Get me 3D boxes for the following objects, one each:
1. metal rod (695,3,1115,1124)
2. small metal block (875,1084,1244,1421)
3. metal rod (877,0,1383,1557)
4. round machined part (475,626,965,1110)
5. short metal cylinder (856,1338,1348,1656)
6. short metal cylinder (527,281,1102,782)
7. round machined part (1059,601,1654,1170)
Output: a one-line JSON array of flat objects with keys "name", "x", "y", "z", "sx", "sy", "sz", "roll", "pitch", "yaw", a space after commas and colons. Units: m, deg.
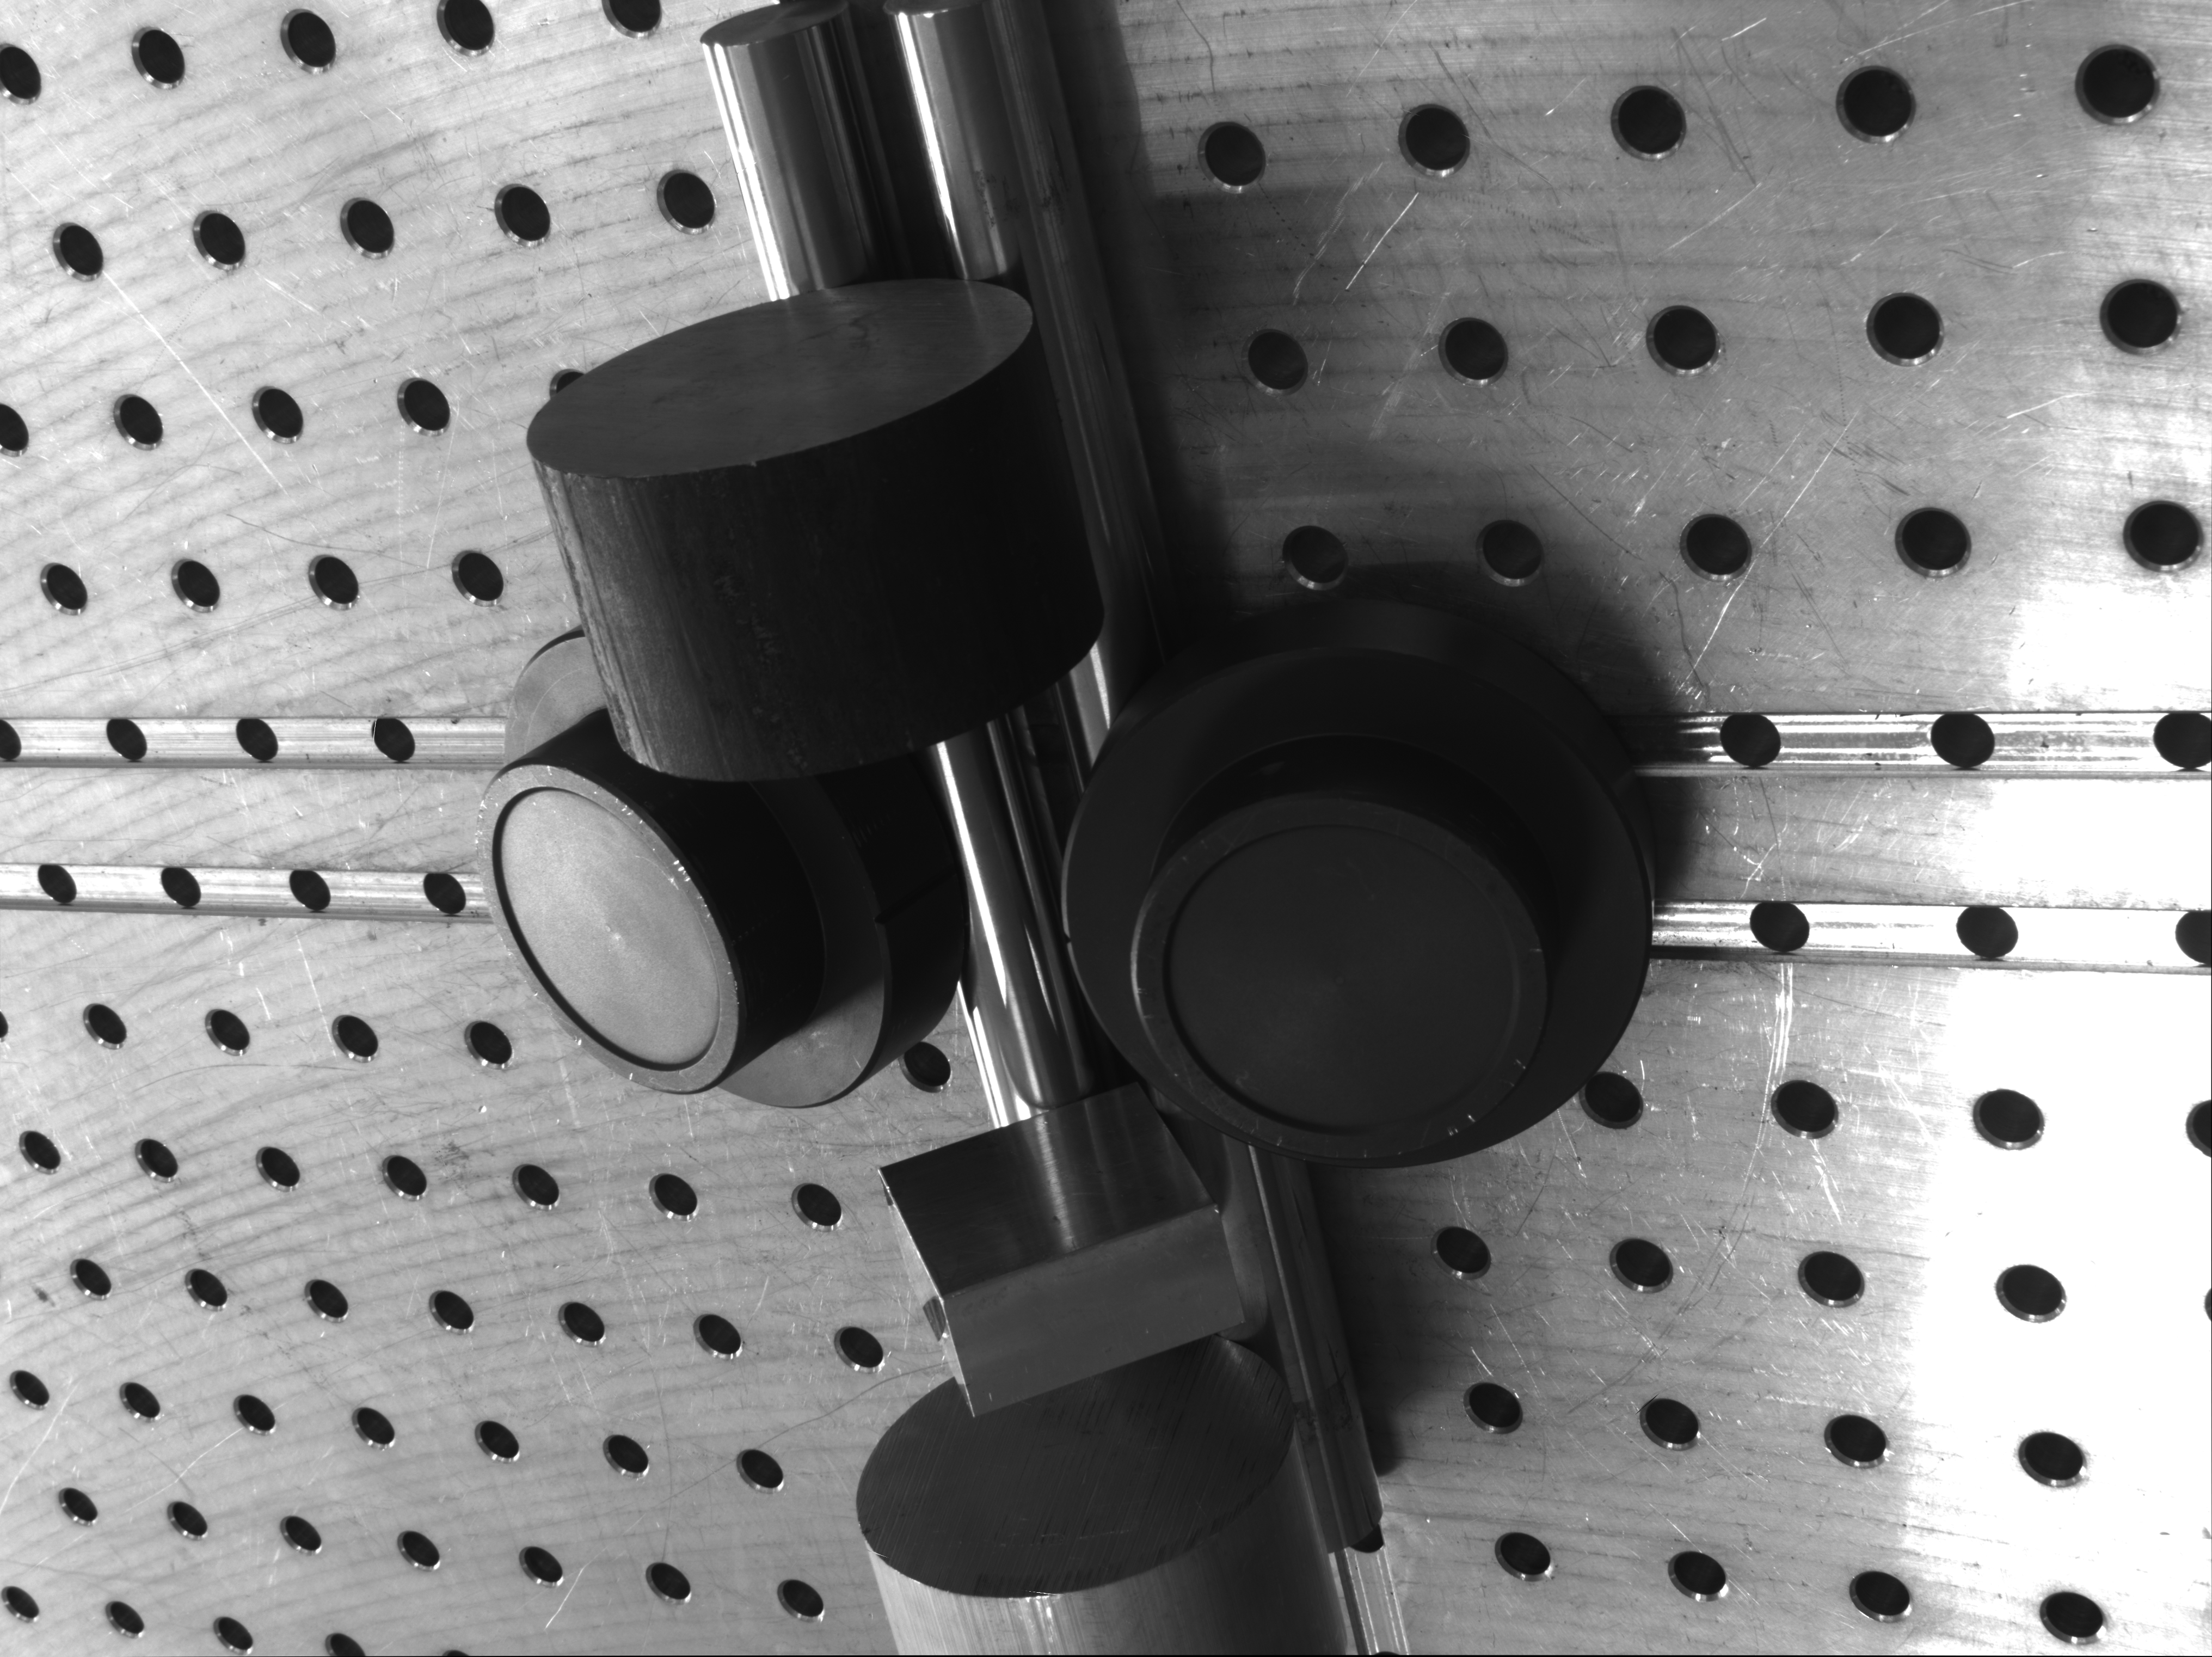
[{"name": "metal rod", "x": -0.022, "y": 0.002, "z": 0.657, "sx": 0.025, "sy": 0.025, "sz": 0.300, "roll": 1, "pitch": 119, "yaw": 28}, {"name": "small metal block", "x": -0.009, "y": 0.074, "z": 0.649, "sx": 0.050, "sy": 0.050, "sz": 0.025, "roll": -17, "pitch": 115, "yaw": -10}, {"name": "metal rod", "x": 0.008, "y": 0.001, "z": 0.640, "sx": 0.025, "sy": 0.025, "sz": 0.300, "roll": 1, "pitch": 119, "yaw": 28}, {"name": "round machined part", "x": -0.076, "y": 0.009, "z": 0.665, "sx": 0.098, "sy": 0.042, "sz": 0.098, "roll": 24, "pitch": 132, "yaw": 30}, {"name": "short metal cylinder", "x": 0.000, "y": 0.134, "z": 0.664, "sx": 0.080, "sy": 0.080, "sz": 0.050, "roll": 1, "pitch": 119, "yaw": 28}, {"name": "short metal cylinder", "x": -0.045, "y": -0.048, "z": 0.576, "sx": 0.080, "sy": 0.080, "sz": 0.050, "roll": 1, "pitch": 119, "yaw": 28}, {"name": "round machined part", "x": 0.040, "y": 0.015, "z": 0.605, "sx": 0.098, "sy": 0.042, "sz": 0.098, "roll": 5, "pitch": 118, "yaw": 9}]
